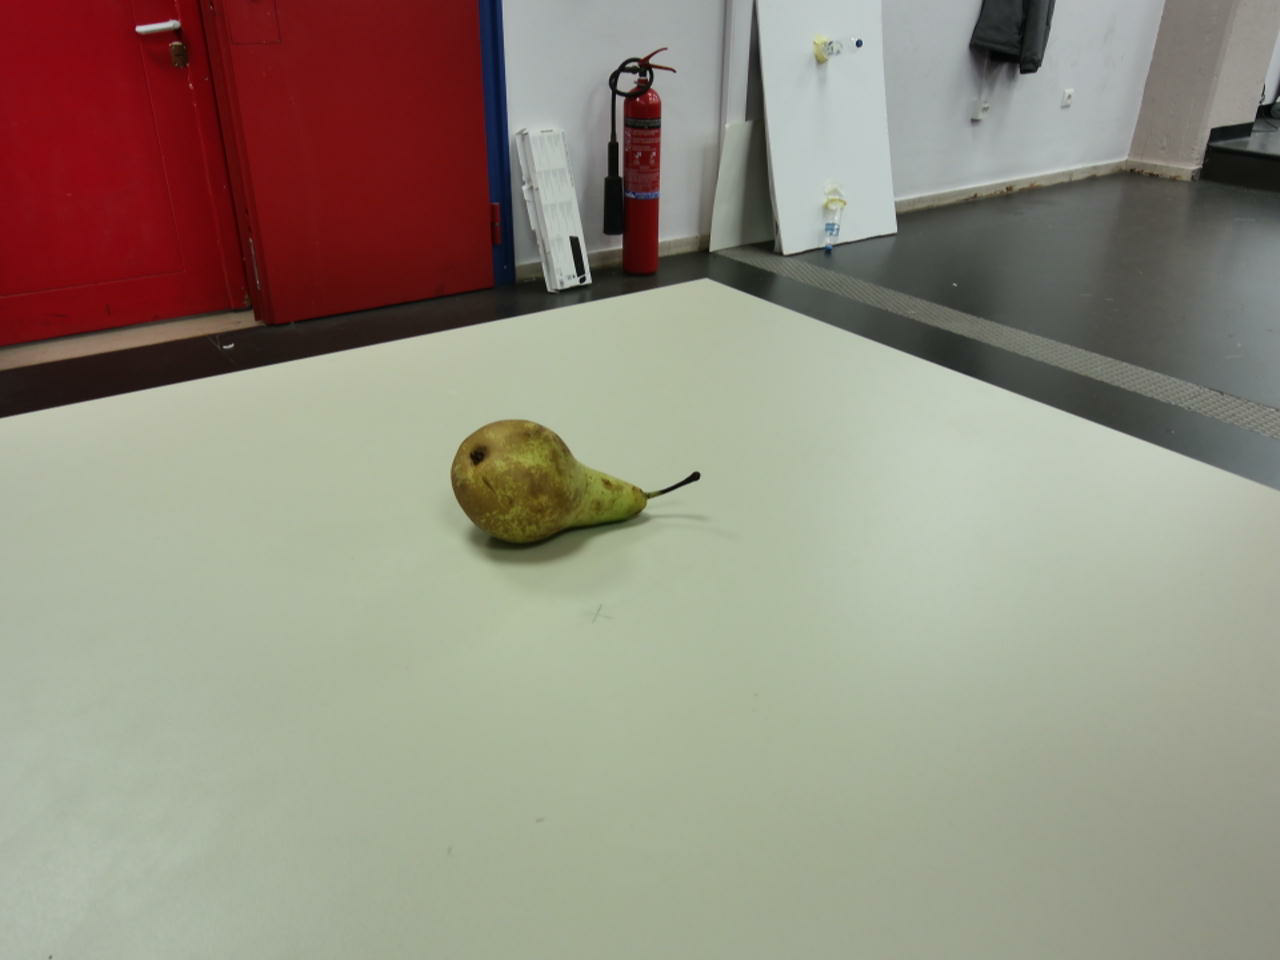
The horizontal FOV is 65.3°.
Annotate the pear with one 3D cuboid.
[{"bbox_3d":[-0.043,-0.007,0.599,0.144,0.075,0.071,-14,29,-26],"label":"pear"}]
